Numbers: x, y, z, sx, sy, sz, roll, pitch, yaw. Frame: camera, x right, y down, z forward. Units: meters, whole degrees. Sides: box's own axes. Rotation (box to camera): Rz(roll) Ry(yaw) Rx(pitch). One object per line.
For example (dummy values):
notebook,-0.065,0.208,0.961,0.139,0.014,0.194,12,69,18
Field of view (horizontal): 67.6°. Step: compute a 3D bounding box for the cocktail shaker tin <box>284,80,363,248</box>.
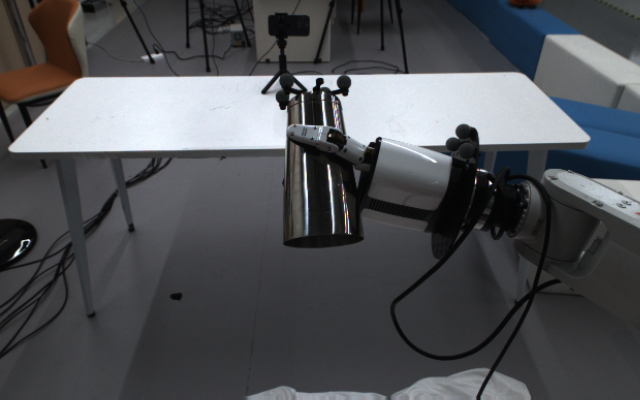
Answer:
cocktail shaker tin,-0.001,-0.034,0.566,0.093,0.093,0.170,-3,76,-7
